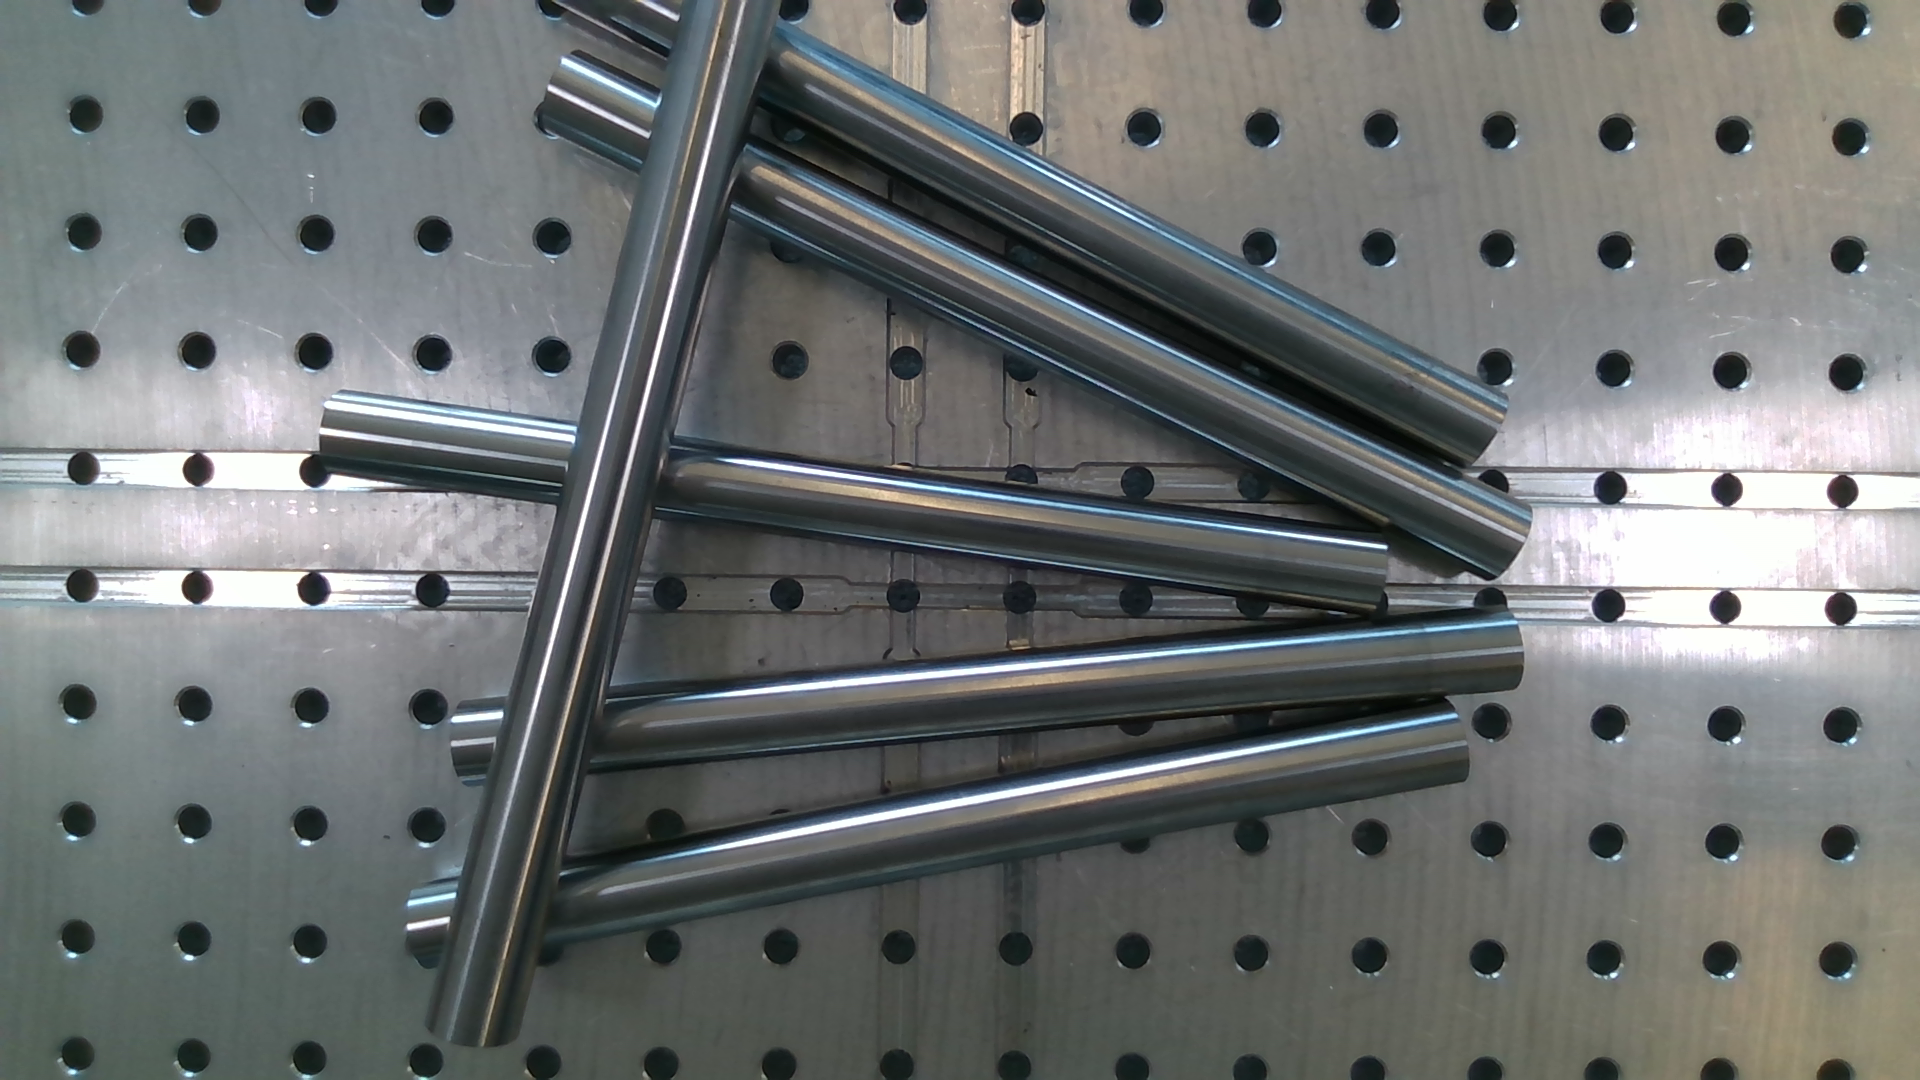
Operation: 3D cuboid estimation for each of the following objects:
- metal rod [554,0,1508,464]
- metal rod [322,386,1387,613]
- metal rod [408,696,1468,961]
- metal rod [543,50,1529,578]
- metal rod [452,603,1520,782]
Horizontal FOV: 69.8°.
[{"bbox_3d":[0.017,-0.101,0.396,0.300,0.025,0.025,27,90,0],"label":"metal rod"},{"bbox_3d":[-0.030,-0.012,0.398,0.300,0.025,0.025,8,90,0],"label":"metal rod"},{"bbox_3d":[-0.006,0.083,0.398,0.300,0.025,0.025,-10,90,0],"label":"metal rod"},{"bbox_3d":[0.022,-0.065,0.398,0.300,0.025,0.025,25,90,0],"label":"metal rod"},{"bbox_3d":[0.007,0.044,0.398,0.300,0.025,0.025,-5,90,0],"label":"metal rod"}]
